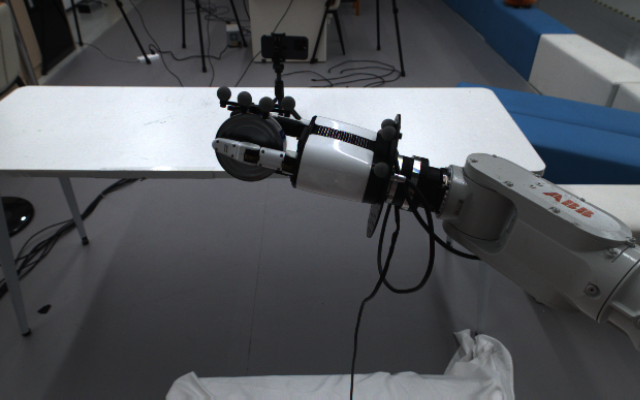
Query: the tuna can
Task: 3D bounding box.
[{"bbox_3d":[-0.085,-0.069,0.606,0.085,0.085,0.034,5,18,5],"label":"tuna can"}]
